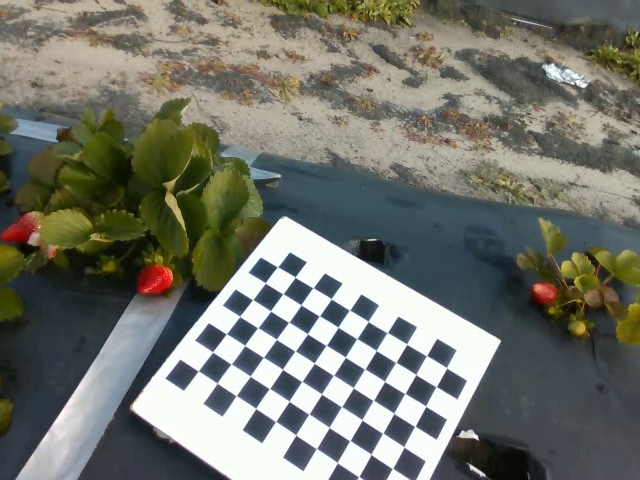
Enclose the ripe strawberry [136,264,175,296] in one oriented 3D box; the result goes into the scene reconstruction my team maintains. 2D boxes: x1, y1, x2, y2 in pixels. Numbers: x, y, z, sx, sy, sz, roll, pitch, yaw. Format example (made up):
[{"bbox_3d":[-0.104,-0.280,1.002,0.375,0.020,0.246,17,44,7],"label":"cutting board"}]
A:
[{"bbox_3d":[-0.172,0.042,0.631,0.050,0.036,0.055,29,44,4],"label":"ripe strawberry"}]
